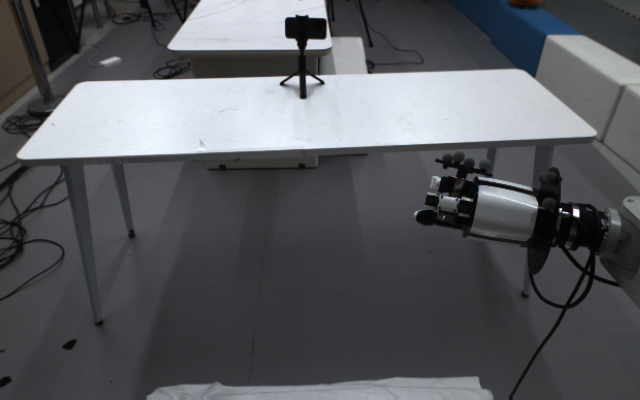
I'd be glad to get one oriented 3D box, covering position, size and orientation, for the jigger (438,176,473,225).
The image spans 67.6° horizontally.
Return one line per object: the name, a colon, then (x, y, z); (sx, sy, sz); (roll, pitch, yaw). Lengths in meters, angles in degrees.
jigger: (0.205, -0.001, 0.737); (0.043, 0.071, 0.043); (17, 2, -1)
